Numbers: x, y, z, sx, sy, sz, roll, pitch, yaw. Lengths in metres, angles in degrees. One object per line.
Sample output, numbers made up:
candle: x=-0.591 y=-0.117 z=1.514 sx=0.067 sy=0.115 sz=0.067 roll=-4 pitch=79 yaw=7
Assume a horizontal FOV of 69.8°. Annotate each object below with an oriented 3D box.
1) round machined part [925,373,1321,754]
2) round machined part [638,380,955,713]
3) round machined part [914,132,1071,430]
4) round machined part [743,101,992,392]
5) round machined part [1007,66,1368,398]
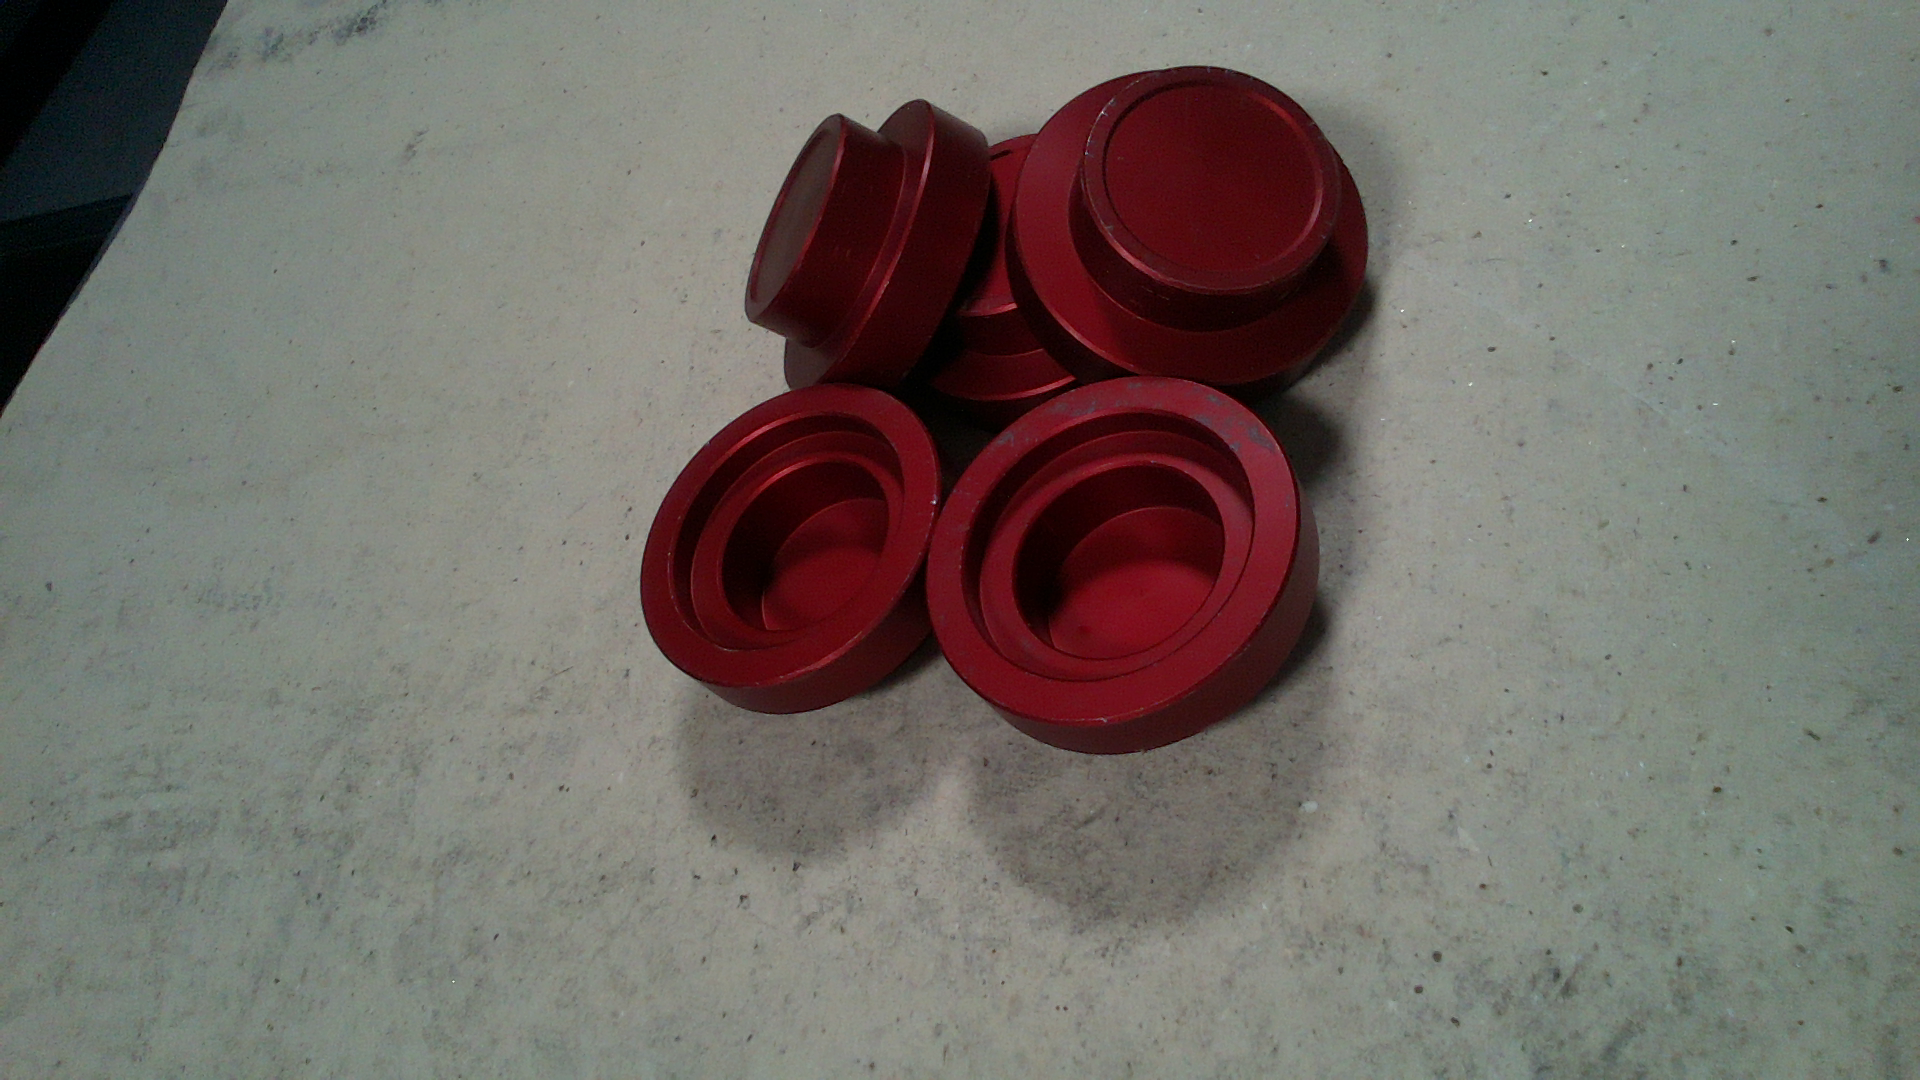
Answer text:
round machined part: x=0.044 y=0.009 z=0.354 sx=0.098 sy=0.042 sz=0.098 roll=-13 pitch=56 yaw=21
round machined part: x=-0.041 y=0.005 z=0.402 sx=0.098 sy=0.042 sz=0.098 roll=-13 pitch=56 yaw=21
round machined part: x=0.022 y=-0.086 z=0.423 sx=0.098 sy=0.042 sz=0.098 roll=-13 pitch=56 yaw=21
round machined part: x=-0.034 y=-0.092 z=0.427 sx=0.098 sy=0.042 sz=0.098 roll=-46 pitch=32 yaw=40
round machined part: x=0.064 y=-0.088 z=0.374 sx=0.098 sy=0.042 sz=0.098 roll=2 pitch=71 yaw=-4
